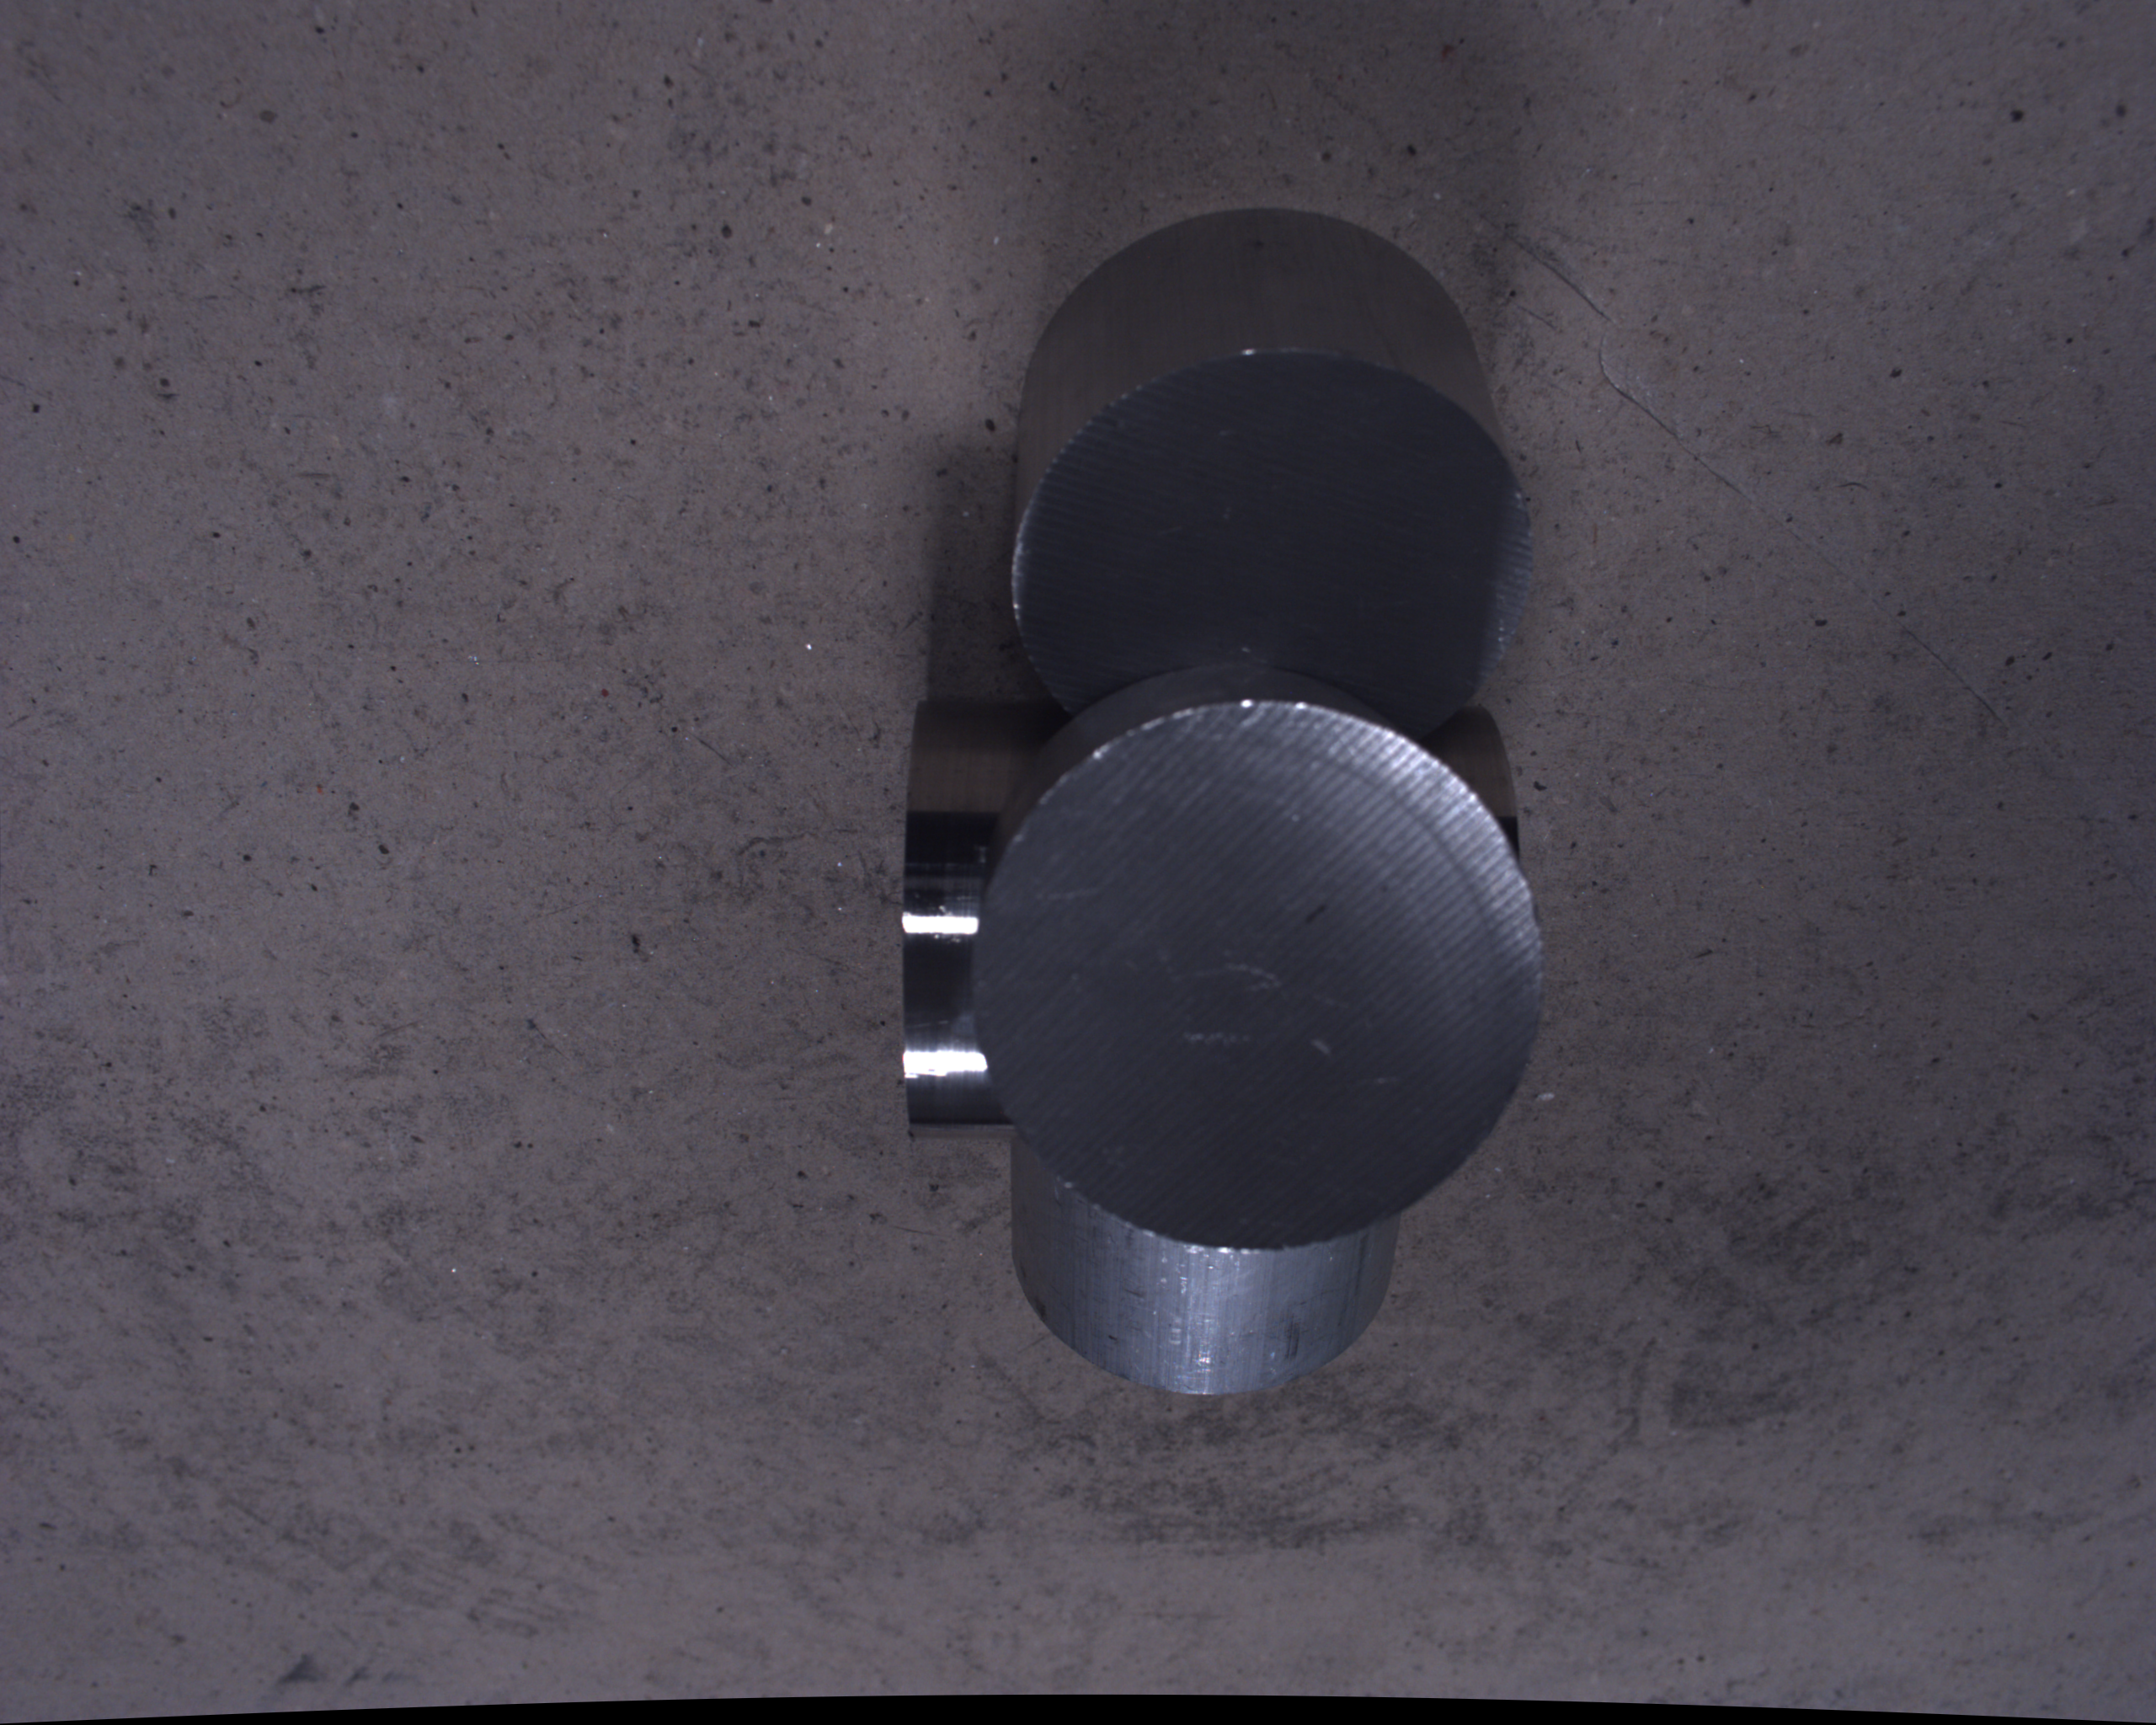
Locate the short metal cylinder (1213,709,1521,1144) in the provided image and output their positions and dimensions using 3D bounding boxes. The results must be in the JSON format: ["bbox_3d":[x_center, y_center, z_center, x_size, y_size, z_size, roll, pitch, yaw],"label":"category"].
[{"bbox_3d":[0.048,0.011,0.382,0.050,0.080,0.079,1,130,0],"label":"short metal cylinder"}]

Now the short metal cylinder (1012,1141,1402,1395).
[{"bbox_3d":[0.027,0.060,0.425,0.081,0.080,0.050,0,130,-1],"label":"short metal cylinder"}]

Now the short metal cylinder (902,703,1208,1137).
[{"bbox_3d":[-0.004,0.010,0.382,0.050,0.080,0.079,0,130,-1],"label":"short metal cylinder"}]

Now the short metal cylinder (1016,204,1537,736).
[{"bbox_3d":[0.031,-0.060,0.343,0.081,0.050,0.079,0,130,0],"label":"short metal cylinder"}]

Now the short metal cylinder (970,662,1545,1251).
[{"bbox_3d":[0.025,0.012,0.316,0.081,0.050,0.079,0,102,-1],"label":"short metal cylinder"}]
